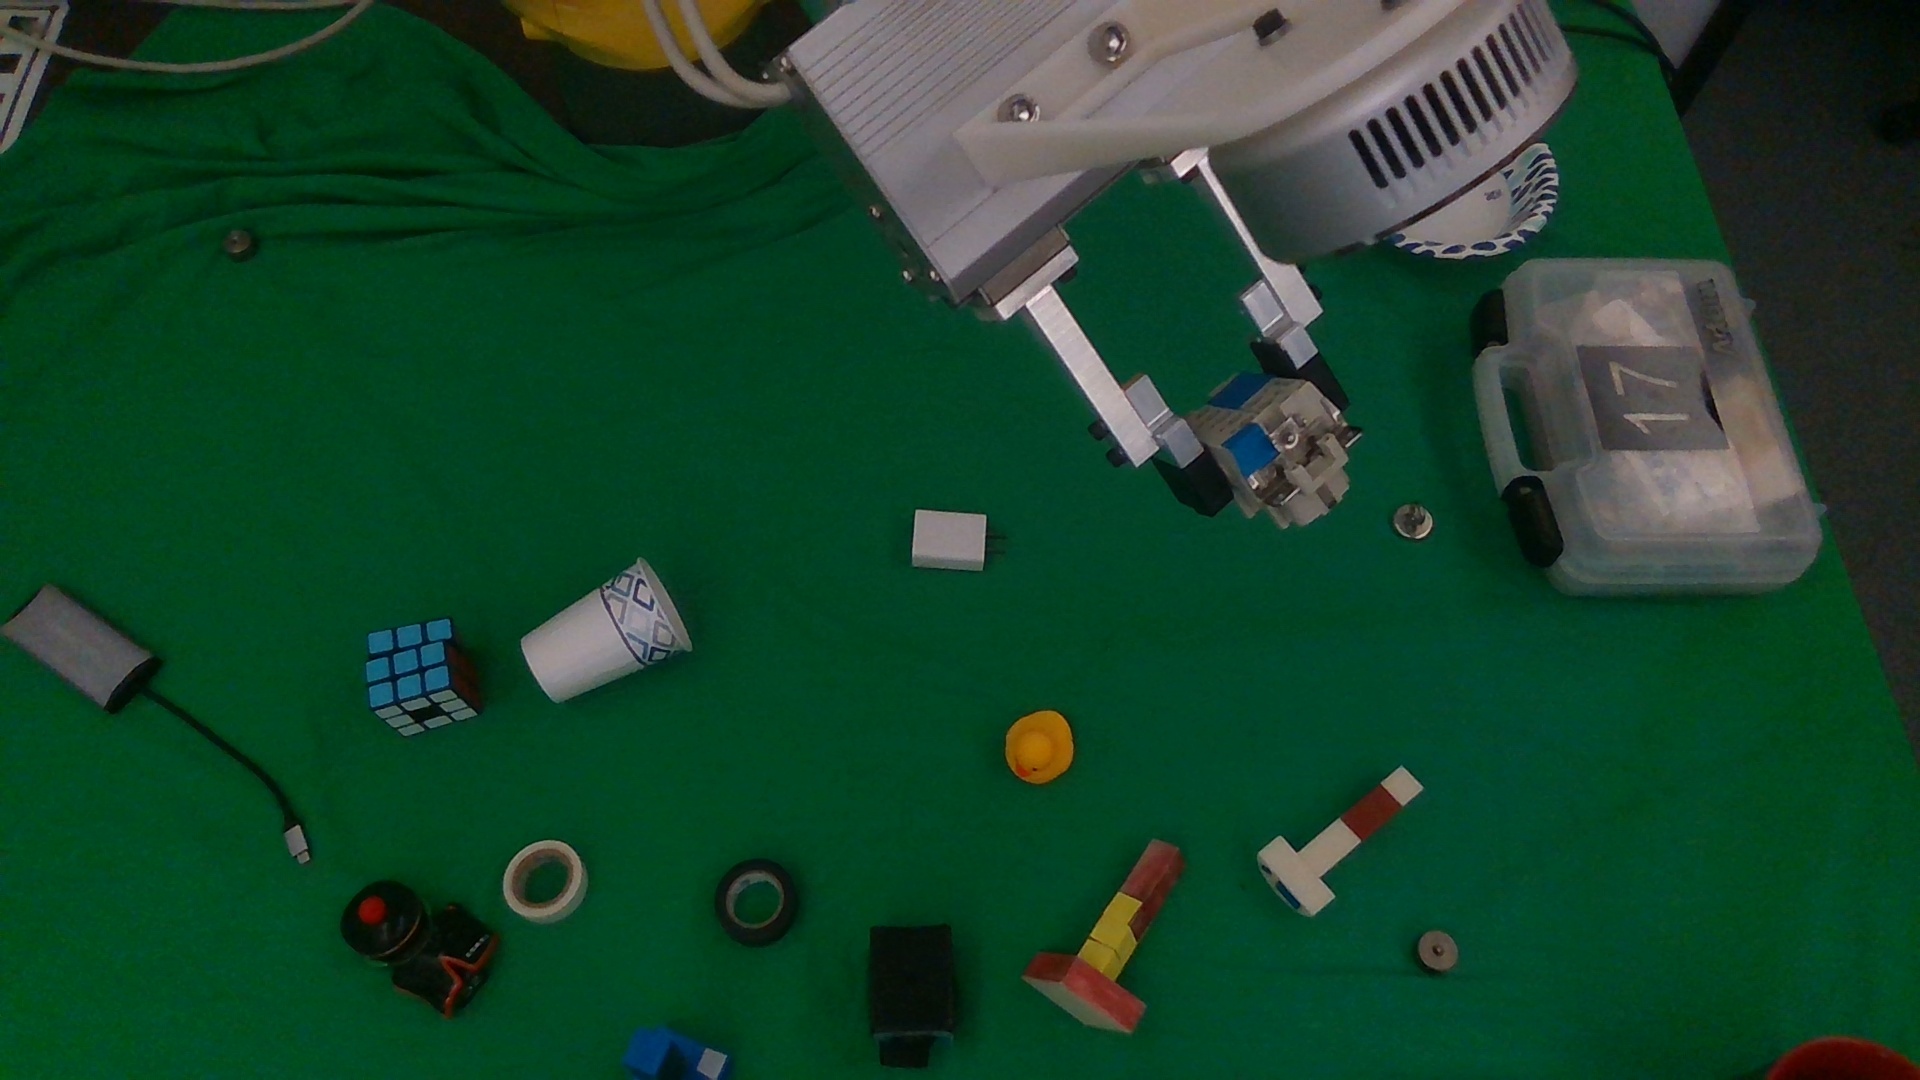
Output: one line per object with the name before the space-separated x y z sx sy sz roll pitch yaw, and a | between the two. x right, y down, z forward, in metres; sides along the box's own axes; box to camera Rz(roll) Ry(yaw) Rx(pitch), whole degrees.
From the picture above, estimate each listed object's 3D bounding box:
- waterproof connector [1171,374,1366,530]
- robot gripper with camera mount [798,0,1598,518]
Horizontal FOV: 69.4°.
waterproof connector | 0.092 -0.026 0.414 0.035 0.065 0.037 -44 106 -8
robot gripper with camera mount | 0.074 -0.072 0.313 0.119 0.194 0.158 -39 108 -8
